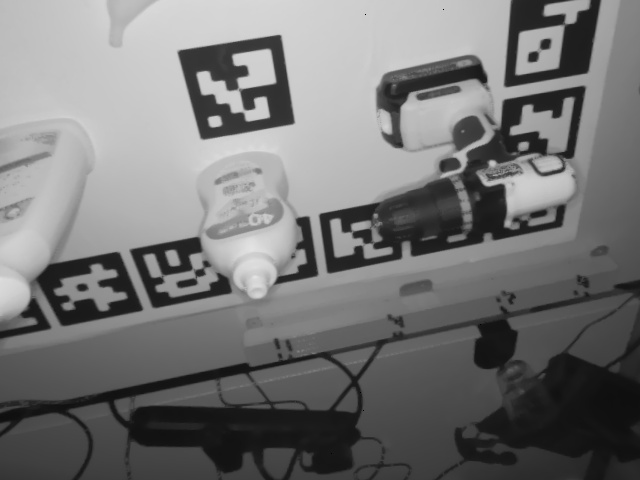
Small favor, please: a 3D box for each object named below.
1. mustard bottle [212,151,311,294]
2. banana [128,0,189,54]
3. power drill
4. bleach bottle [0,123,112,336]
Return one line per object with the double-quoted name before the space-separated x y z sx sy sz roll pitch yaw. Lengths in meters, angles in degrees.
"mustard bottle" -0.058 -0.016 0.691 0.096 0.192 0.058 -14 128 2
"banana" -0.083 -0.222 0.612 0.198 0.039 0.074 -15 127 -4
"power drill" 0.128 -0.063 0.656 0.185 0.187 0.057 -16 128 -4
"bleach bottle" -0.248 -0.016 0.609 0.103 0.252 0.067 -2 128 -9
